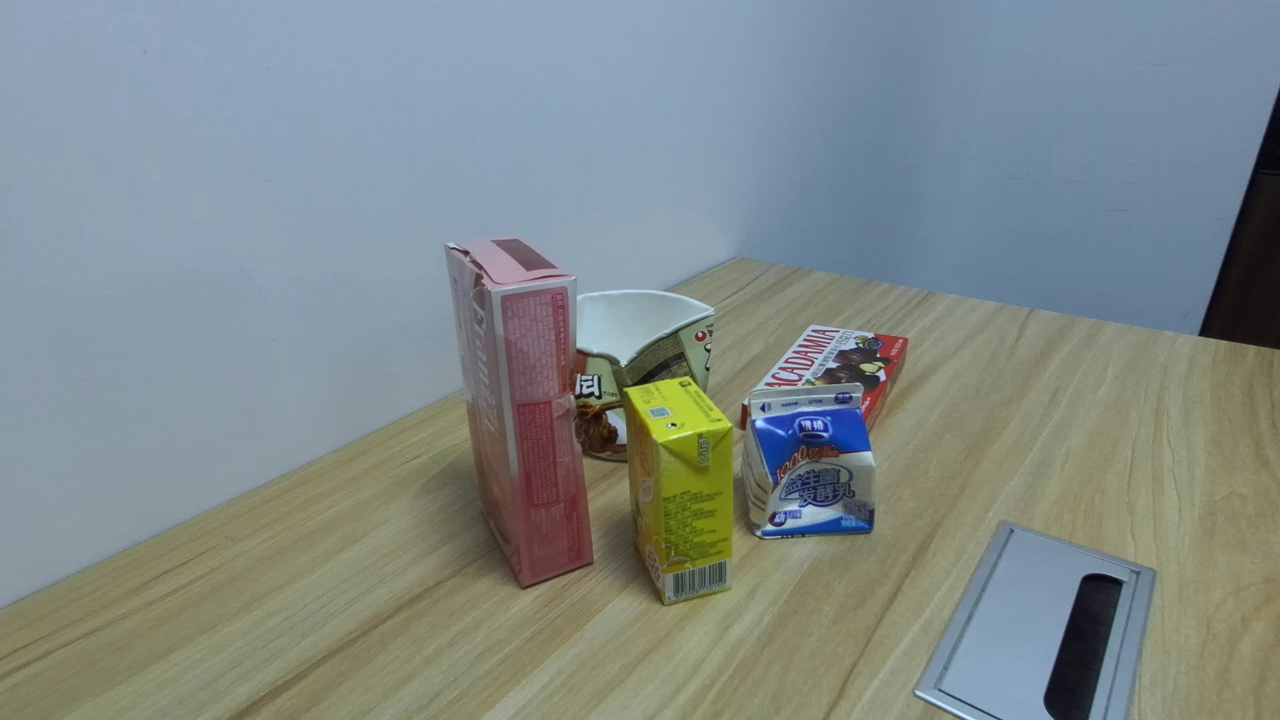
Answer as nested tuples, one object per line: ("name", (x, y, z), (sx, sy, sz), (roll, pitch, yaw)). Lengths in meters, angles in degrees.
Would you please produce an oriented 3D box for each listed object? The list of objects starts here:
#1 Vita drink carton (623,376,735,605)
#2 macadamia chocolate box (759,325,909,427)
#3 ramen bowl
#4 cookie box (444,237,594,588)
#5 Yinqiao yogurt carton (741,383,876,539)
("Vita drink carton", (0.021, 0.073, 0.403), (0.044, 0.109, 0.066), (-10, 26, -15))
("macadamia chocolate box", (0.164, 0.018, 0.607), (0.095, 0.027, 0.178), (11, 28, 28))
("ramen bowl", (-0.006, 0.006, 0.563), (0.137, 0.098, 0.137), (-1, 25, 1))
("cookie box", (-0.068, 0.029, 0.417), (0.049, 0.187, 0.104), (-13, 26, -23))
("Yinqiao yogurt carton", (0.105, 0.055, 0.448), (0.077, 0.094, 0.071), (-4, 30, 1))
